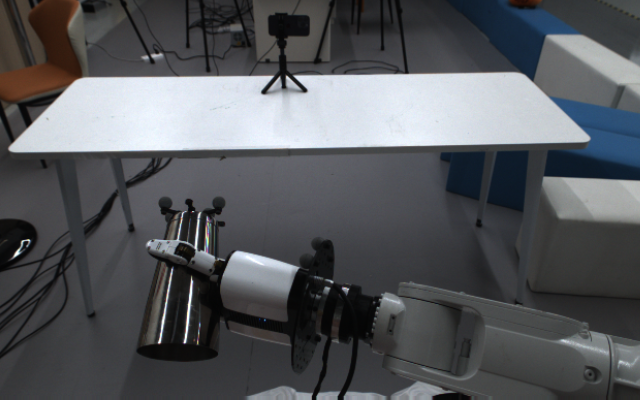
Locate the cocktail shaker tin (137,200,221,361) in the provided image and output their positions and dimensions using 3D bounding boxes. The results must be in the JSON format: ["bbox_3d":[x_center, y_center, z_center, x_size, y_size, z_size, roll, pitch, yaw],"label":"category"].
[{"bbox_3d":[-0.167,0.103,0.596,0.093,0.093,0.170,0,59,-3],"label":"cocktail shaker tin"}]
